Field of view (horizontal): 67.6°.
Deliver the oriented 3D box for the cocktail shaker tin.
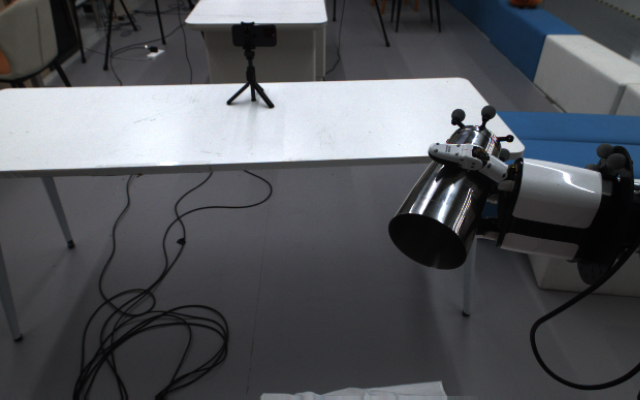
[{"bbox_3d":[0.162,-0.016,0.576,0.093,0.093,0.170,19,55,22],"label":"cocktail shaker tin"}]
